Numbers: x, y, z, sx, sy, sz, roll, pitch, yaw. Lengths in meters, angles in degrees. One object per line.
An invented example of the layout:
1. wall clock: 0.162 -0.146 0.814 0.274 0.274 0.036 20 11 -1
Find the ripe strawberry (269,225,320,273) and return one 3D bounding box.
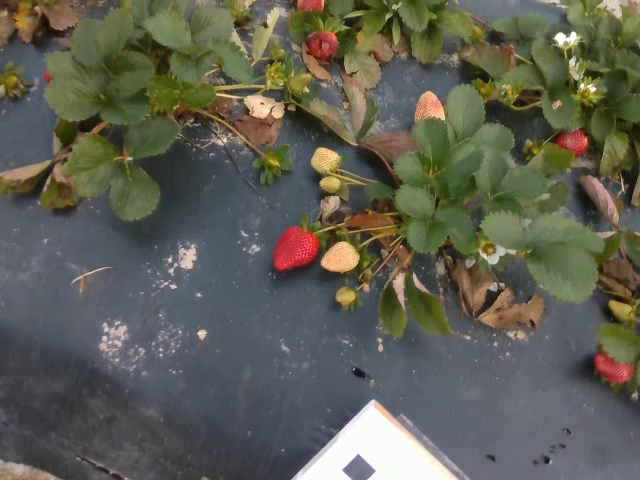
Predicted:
1. ripe strawberry: -0.026 0.010 0.569 0.050 0.059 0.034 32 -40 5
